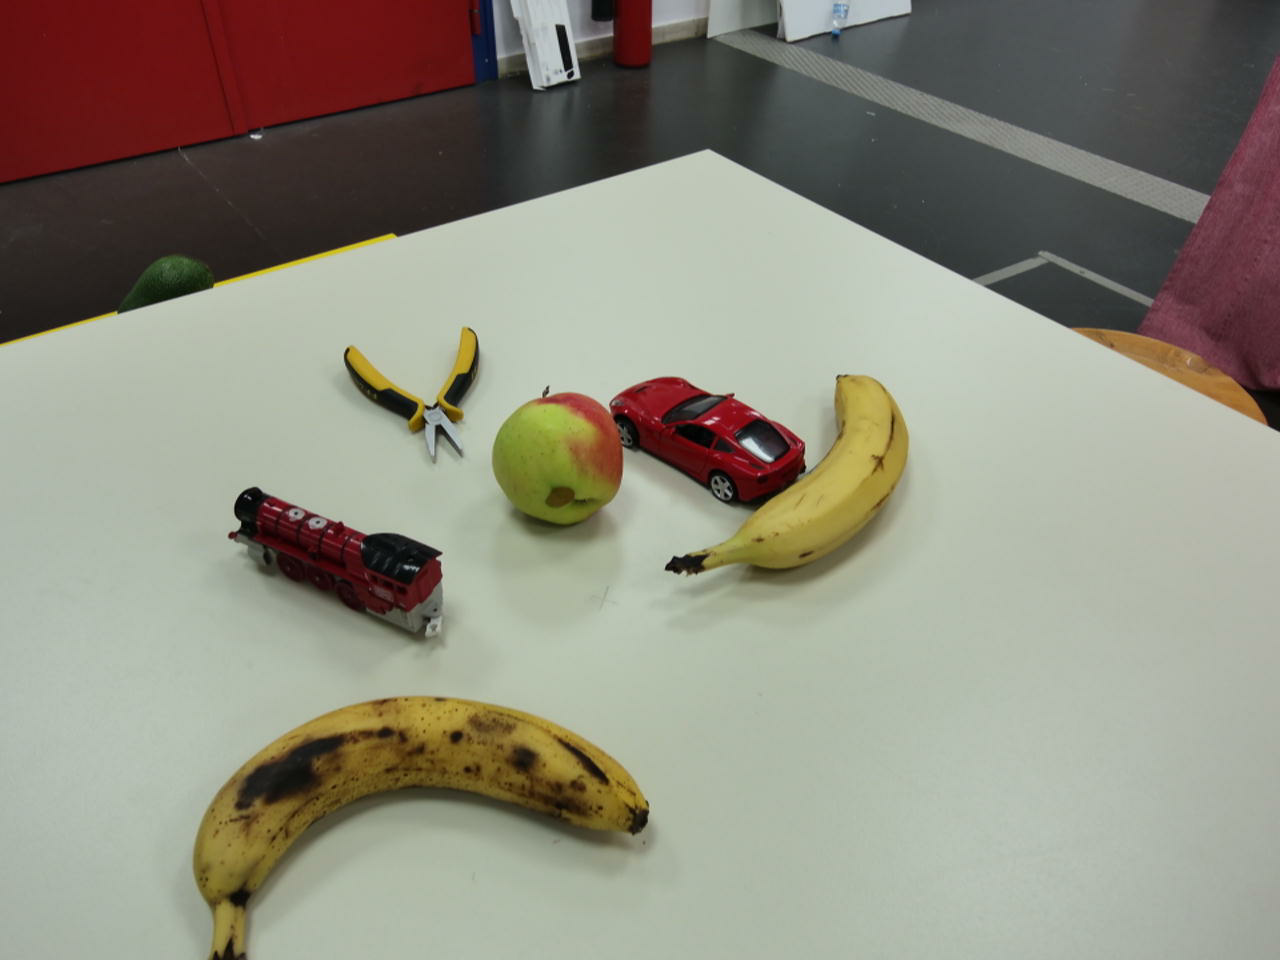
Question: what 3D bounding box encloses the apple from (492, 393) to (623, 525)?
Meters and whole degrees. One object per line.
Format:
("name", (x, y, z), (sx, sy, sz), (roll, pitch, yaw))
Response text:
("apple", (-0.045, -0.013, 0.580), (0.075, 0.074, 0.075), (23, 43, 26))
